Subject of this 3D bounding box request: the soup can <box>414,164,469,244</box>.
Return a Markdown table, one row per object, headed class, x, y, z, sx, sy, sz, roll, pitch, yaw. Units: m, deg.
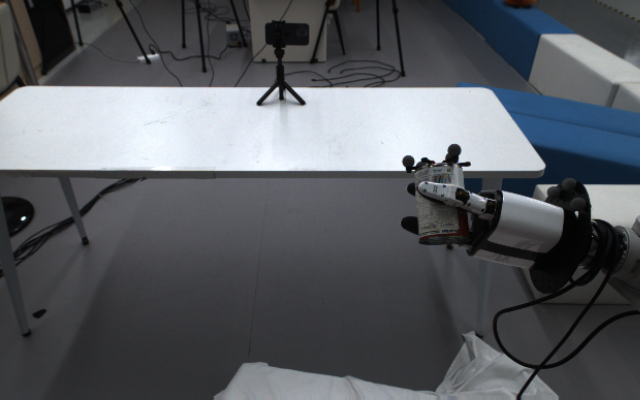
| class | x | y | z | sx | sy | sz | roll | pitch | yaw |
| --- | --- | --- | --- | --- | --- | --- | --- | --- | --- |
| soup can | 0.166 | 0.005 | 0.661 | 0.067 | 0.067 | 0.101 | 0 | 75 | -3 |
